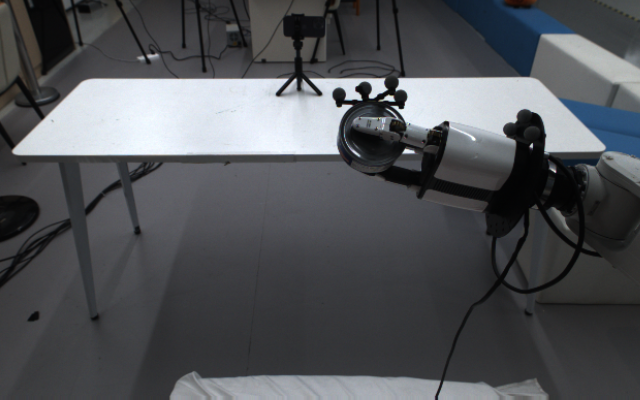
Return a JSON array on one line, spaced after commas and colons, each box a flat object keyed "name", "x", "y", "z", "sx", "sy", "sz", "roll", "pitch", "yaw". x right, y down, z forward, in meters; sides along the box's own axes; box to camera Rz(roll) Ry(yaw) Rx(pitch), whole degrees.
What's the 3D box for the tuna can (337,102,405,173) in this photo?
[{"name": "tuna can", "x": 0.065, "y": -0.080, "z": 0.604, "sx": 0.085, "sy": 0.034, "sz": 0.085, "roll": 1, "pitch": 70, "yaw": -4}]
